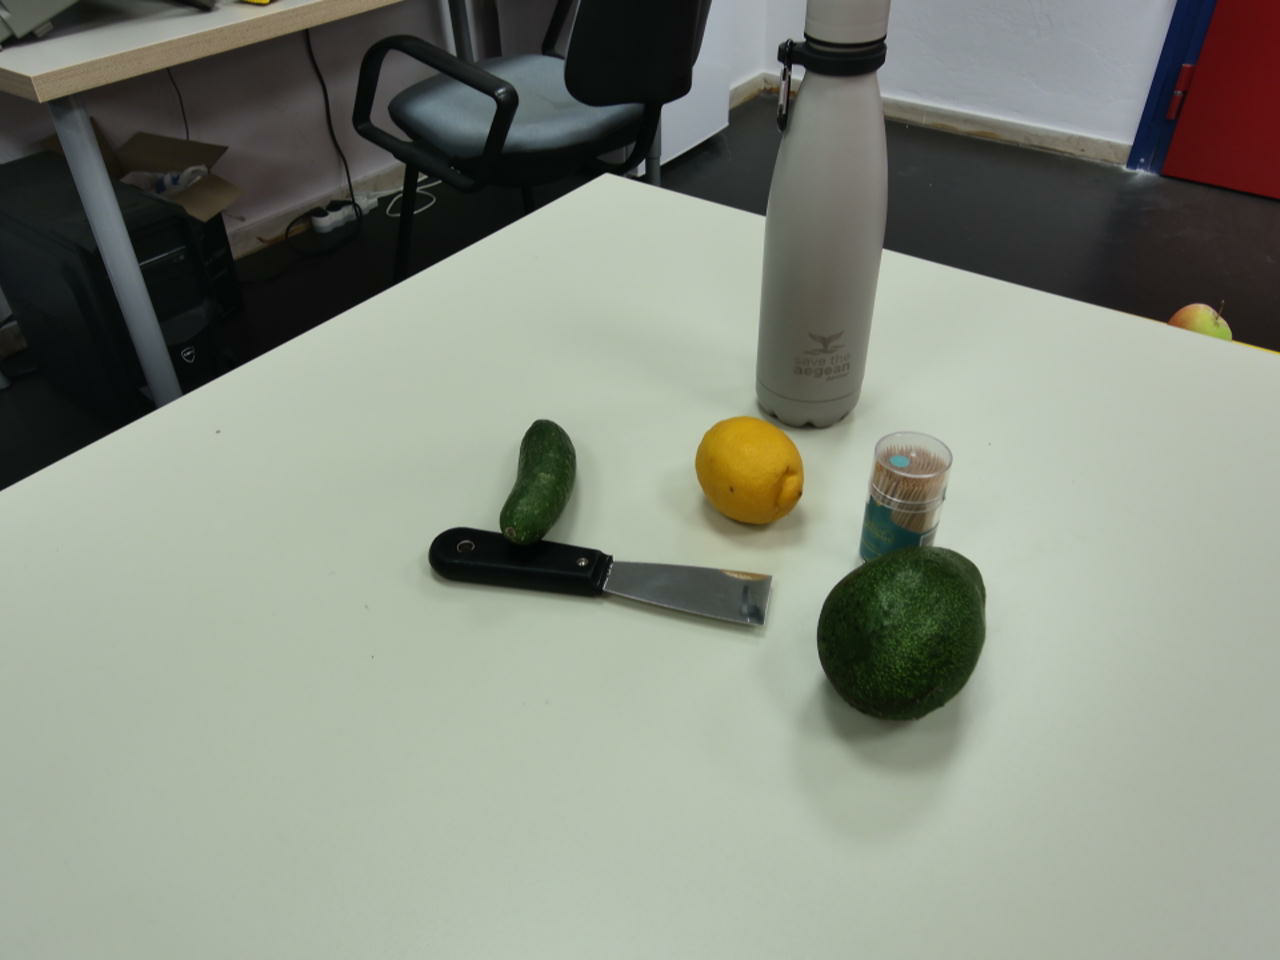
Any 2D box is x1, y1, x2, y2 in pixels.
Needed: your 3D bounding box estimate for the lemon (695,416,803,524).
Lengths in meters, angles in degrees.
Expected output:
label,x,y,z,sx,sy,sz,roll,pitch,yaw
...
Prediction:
label,x,y,z,sx,sy,sz,roll,pitch,yaw
lemon,0.064,-0.005,0.587,0.061,0.059,0.067,-6,38,-8
